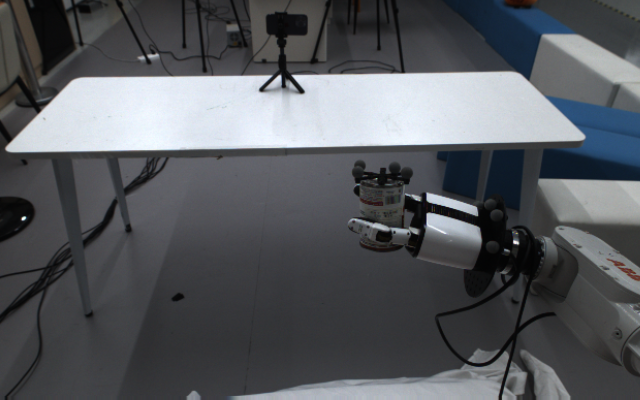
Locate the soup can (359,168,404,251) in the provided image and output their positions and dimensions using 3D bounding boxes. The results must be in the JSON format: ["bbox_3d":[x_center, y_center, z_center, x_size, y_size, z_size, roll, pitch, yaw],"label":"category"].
[{"bbox_3d":[0.094,0.018,0.720,0.067,0.101,0.067,-1,17,0],"label":"soup can"}]
